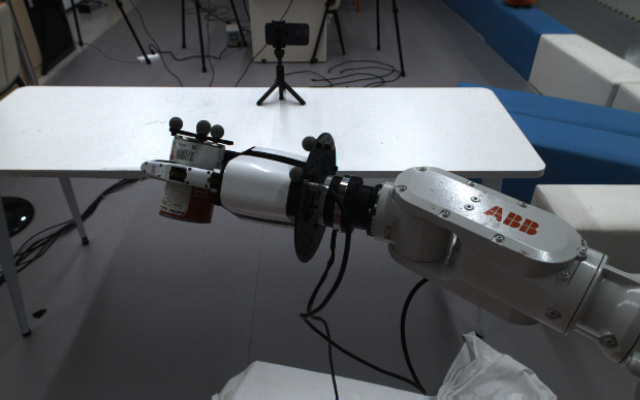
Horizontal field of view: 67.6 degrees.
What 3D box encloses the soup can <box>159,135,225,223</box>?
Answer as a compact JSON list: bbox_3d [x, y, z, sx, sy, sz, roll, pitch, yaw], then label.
[{"bbox_3d":[-0.162,-0.024,0.620,0.067,0.101,0.067,11,2,0],"label":"soup can"}]
